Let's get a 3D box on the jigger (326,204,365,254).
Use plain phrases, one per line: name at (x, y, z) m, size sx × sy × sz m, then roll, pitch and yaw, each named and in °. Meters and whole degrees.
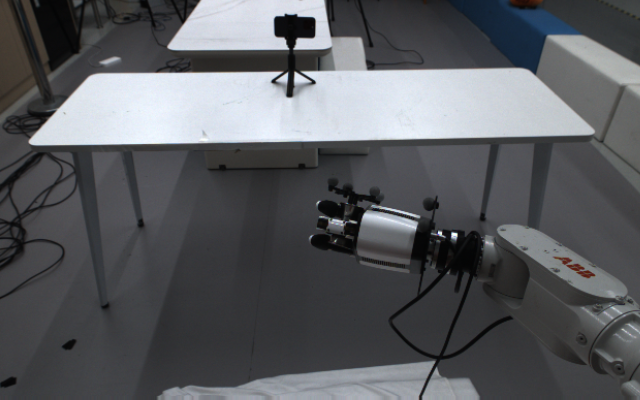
jigger at (0.044, 0.040, 0.771) m, size 0.043 × 0.071 × 0.043 m, roll 16°, pitch -7°, yaw 2°
